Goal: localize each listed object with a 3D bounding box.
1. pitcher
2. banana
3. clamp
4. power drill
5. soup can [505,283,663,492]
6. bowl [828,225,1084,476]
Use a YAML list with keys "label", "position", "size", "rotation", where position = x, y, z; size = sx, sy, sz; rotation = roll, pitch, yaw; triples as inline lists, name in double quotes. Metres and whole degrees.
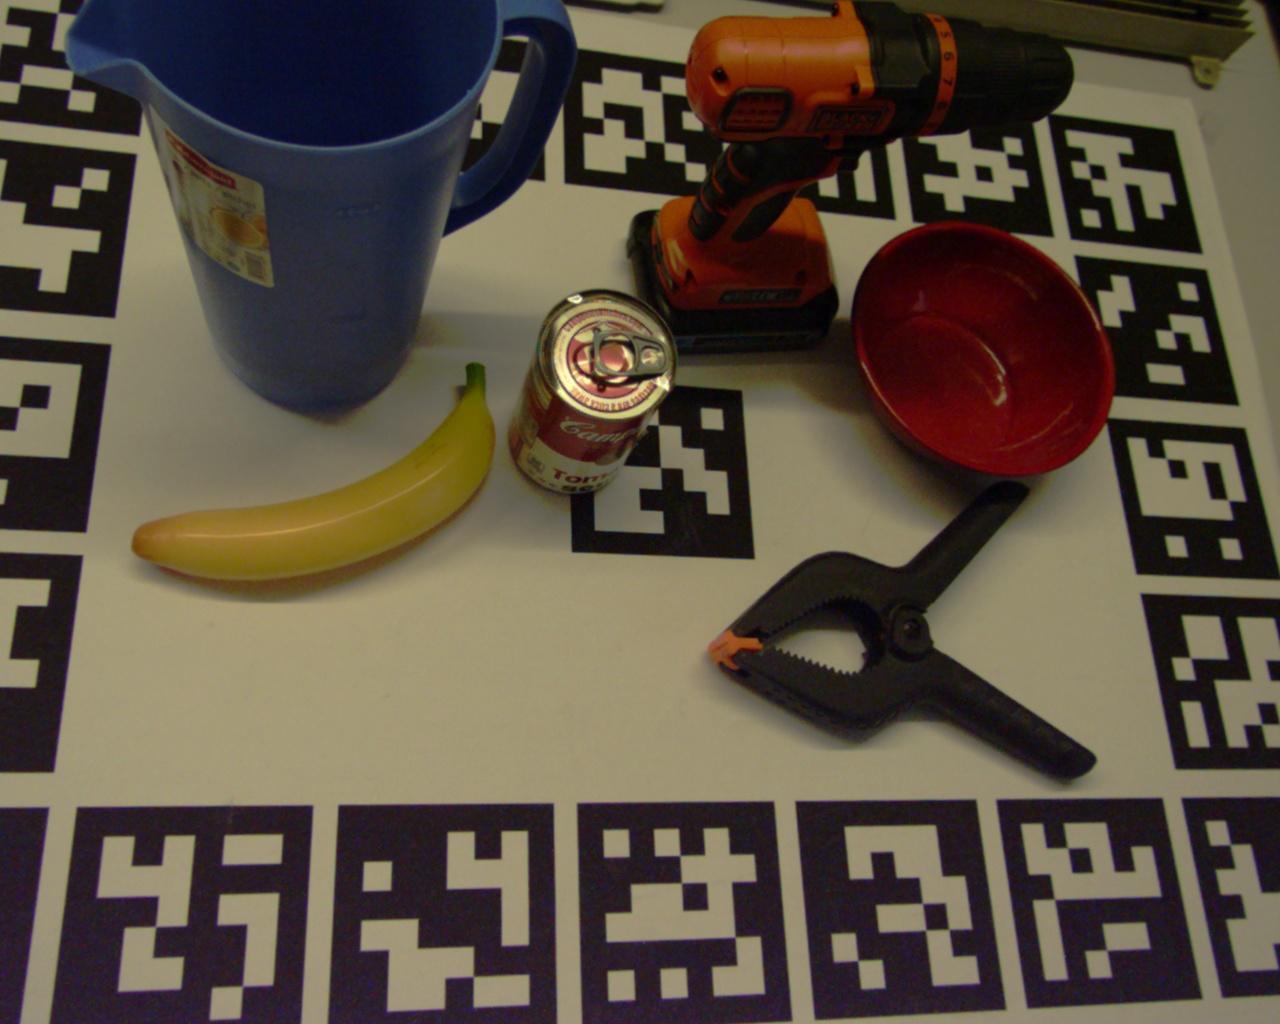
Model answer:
- label: "pitcher"
  position: [-0.136, -0.147, 0.531]
  size: [0.187, 0.243, 0.134]
  rotation: [-23, 75, -20]
- label: "banana"
  position: [-0.158, -0.007, 0.590]
  size: [0.196, 0.039, 0.075]
  rotation: [-25, 70, -22]
- label: "clamp"
  position: [0.131, 0.061, 0.625]
  size: [0.201, 0.037, 0.166]
  rotation: [-1, 75, -14]
- label: "power drill"
  position: [0.090, -0.173, 0.603]
  size: [0.183, 0.188, 0.057]
  rotation: [-4, 73, -16]
- label: "soup can"
  position: [-0.033, -0.063, 0.603]
  size: [0.067, 0.102, 0.068]
  rotation: [5, 62, -11]
- label: "bowl"
  position: [0.179, -0.089, 0.686]
  size: [0.161, 0.055, 0.162]
  rotation: [4, 72, -12]
